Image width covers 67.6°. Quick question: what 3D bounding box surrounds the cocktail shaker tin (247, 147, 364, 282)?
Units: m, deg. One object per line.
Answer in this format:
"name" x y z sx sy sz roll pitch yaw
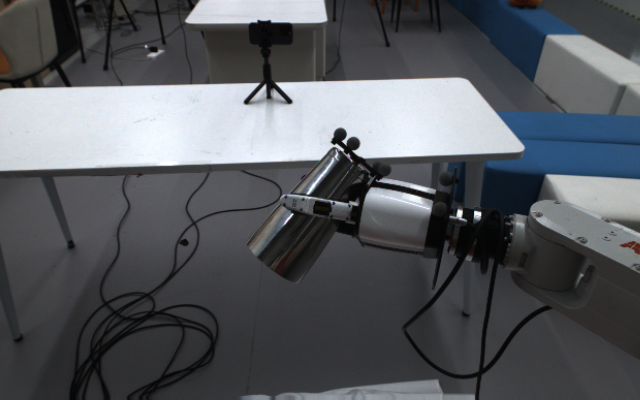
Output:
"cocktail shaker tin" -0.009 0.013 0.647 0.170 0.093 0.093 -50 46 4
